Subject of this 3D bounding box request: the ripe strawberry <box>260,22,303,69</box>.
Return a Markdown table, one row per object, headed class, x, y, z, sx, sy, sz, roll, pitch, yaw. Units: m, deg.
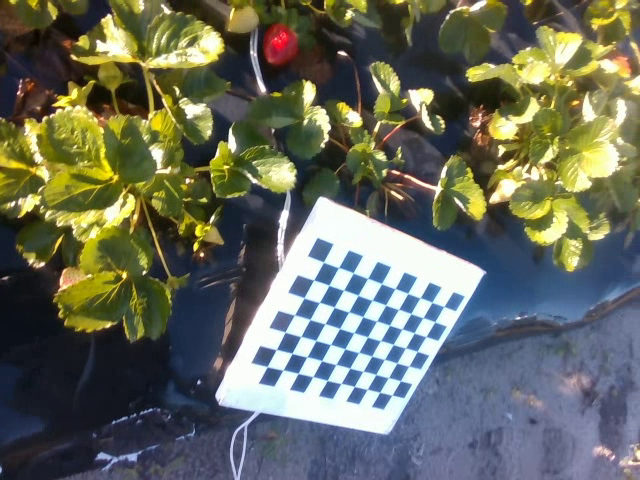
| class | x | y | z | sx | sy | sz | roll | pitch | yaw |
| --- | --- | --- | --- | --- | --- | --- | --- | --- | --- |
| ripe strawberry | -0.051 | -0.260 | 0.815 | 0.040 | 0.080 | 0.063 | -7 | -46 | 30 |
